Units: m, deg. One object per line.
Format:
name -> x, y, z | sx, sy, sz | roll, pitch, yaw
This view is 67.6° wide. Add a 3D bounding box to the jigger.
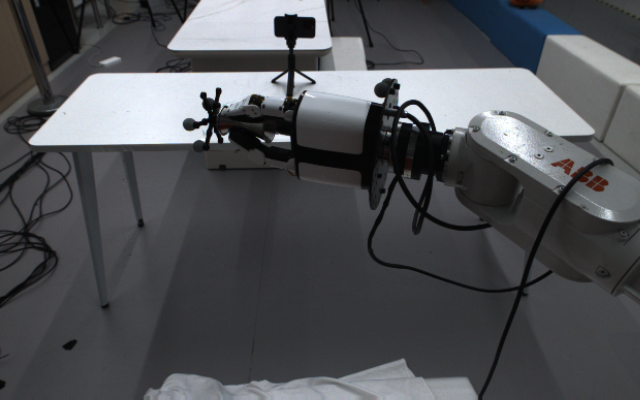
jigger -> -0.095, -0.107, 0.638 | 0.071, 0.043, 0.043 | 10, 35, 15
